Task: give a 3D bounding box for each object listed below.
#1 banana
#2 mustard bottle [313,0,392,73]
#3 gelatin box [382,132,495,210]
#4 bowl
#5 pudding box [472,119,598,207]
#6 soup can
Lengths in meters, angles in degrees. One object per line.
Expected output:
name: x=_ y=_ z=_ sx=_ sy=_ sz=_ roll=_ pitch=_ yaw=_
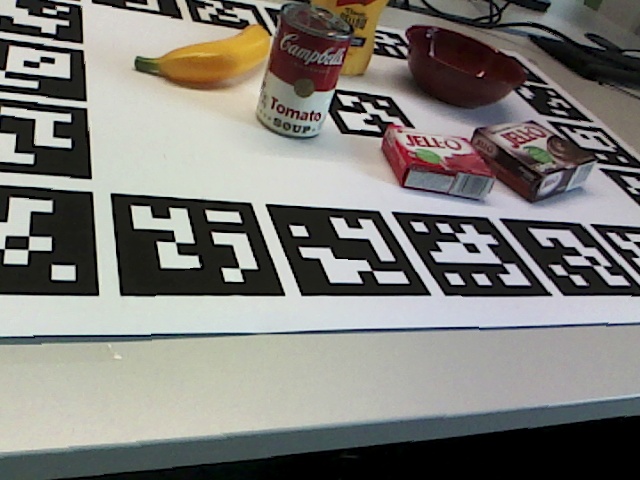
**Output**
banana: x=-0.104 y=-0.199 z=0.657 sx=0.074 sy=0.039 sz=0.197 roll=19 pitch=34 yaw=16
mustard bottle: x=0.043 y=-0.288 z=0.694 sx=0.096 sy=0.191 sz=0.059 roll=2 pitch=36 yaw=-24
gelatin box: x=0.111 y=-0.067 z=0.590 sx=0.089 sy=0.030 sz=0.073 roll=6 pitch=41 yaw=-18
bowl: x=0.180 y=-0.210 z=0.797 sx=0.161 sy=0.055 sz=0.162 roll=12 pitch=36 yaw=-9
pudding box: x=0.228 y=-0.085 z=0.662 sx=0.113 sy=0.038 sz=0.090 roll=-18 pitch=55 yaw=-41
soup can: x=-0.021 y=-0.157 z=0.570 sx=0.068 sy=0.102 sz=0.068 roll=14 pitch=33 yaw=-10
